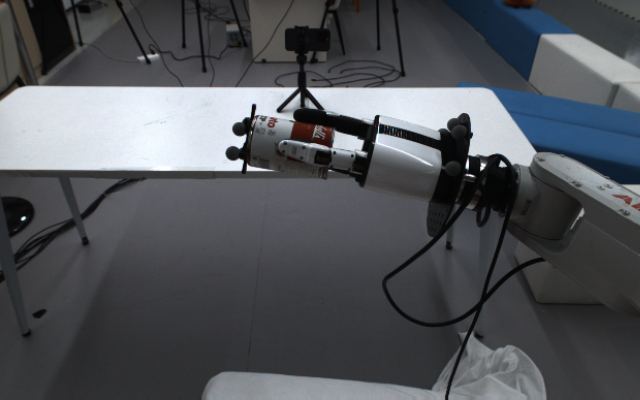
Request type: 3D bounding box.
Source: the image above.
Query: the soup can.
[{"bbox_3d":[-0.034,-0.067,0.616,0.101,0.067,0.067,10,35,0],"label":"soup can"}]
